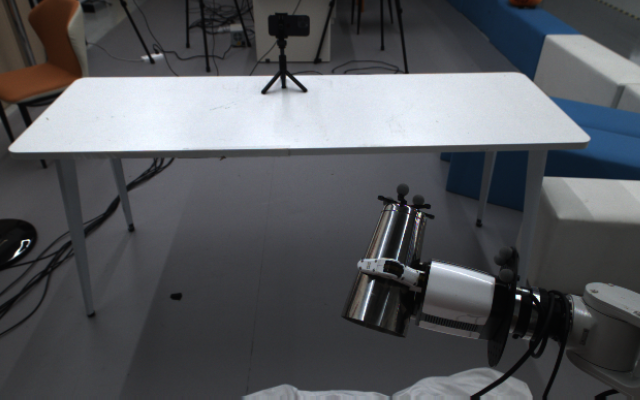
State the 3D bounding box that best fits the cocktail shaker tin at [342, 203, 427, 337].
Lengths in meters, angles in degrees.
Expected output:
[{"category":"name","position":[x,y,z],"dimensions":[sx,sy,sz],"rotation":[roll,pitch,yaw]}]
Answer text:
[{"category":"cocktail shaker tin","position":[0.098,0.096,0.680],"dimensions":[0.093,0.093,0.170],"rotation":[14,73,17]}]
